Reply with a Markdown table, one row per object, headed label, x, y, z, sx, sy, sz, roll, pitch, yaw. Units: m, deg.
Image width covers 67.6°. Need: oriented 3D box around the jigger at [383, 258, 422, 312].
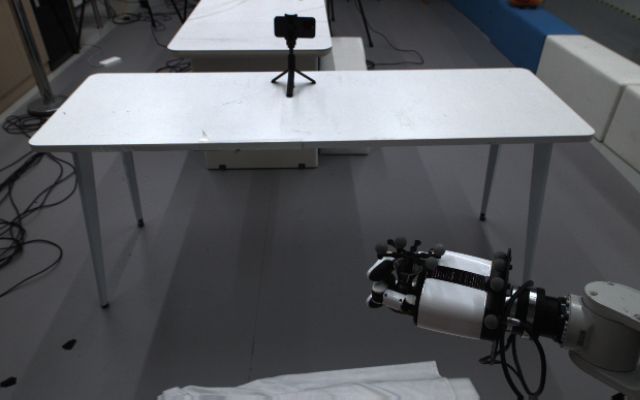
| label | x | y | z | sx | sy | sz | roll | pitch | yaw |
| --- | --- | --- | --- | --- | --- | --- | --- | --- | --- |
| jigger | 0.124 | 0.121 | 0.693 | 0.043 | 0.071 | 0.043 | 3 | 24 | -1 |
